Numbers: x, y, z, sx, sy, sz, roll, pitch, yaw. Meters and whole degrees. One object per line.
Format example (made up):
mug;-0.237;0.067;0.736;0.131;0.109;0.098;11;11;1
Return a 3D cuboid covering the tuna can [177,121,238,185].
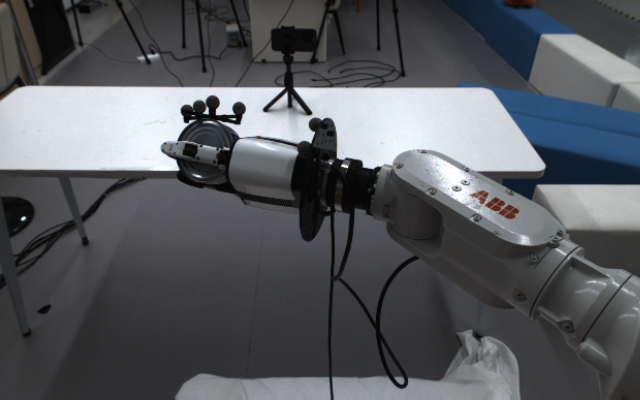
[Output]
tuna can;-0.148;-0.063;0.652;0.085;0.085;0.034;15;0;18
